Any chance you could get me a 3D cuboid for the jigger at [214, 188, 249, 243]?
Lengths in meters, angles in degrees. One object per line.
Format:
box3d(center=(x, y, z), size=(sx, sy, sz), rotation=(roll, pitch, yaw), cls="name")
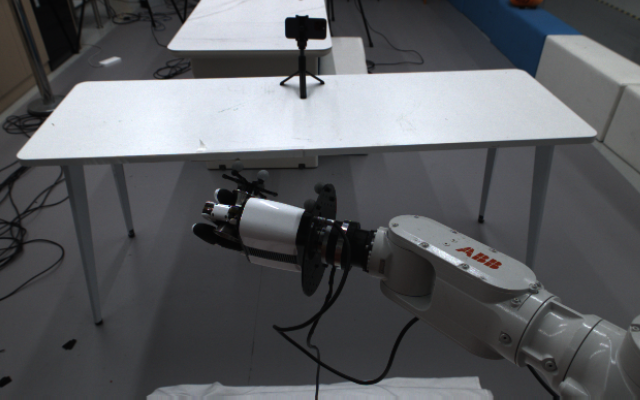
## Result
box3d(center=(-0.122, 0.023, 0.708), size=(0.043, 0.043, 0.071), rotation=(15, 71, 18), cls="jigger")
